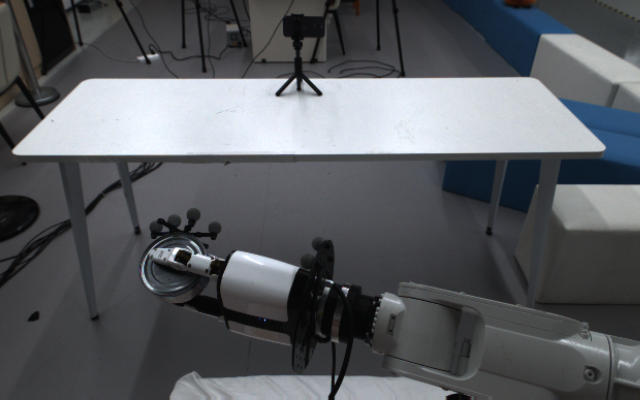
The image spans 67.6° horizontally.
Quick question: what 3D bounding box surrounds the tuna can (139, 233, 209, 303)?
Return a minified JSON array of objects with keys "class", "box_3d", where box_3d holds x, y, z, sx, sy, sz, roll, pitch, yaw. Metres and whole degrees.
[{"class":"tuna can","box_3d":[-0.177,0.088,0.614,0.085,0.034,0.085,-2,57,2]}]
